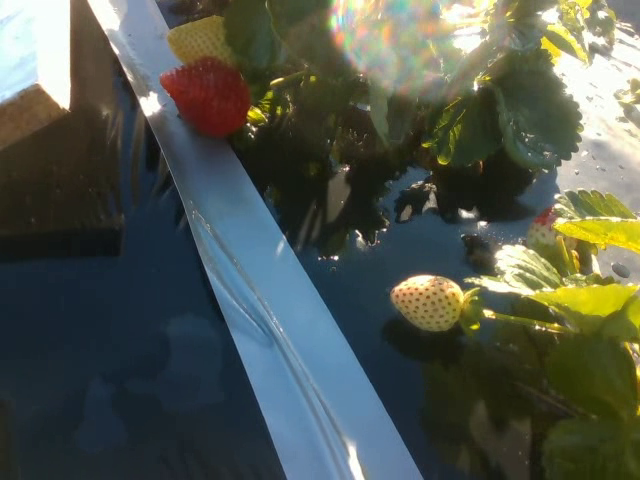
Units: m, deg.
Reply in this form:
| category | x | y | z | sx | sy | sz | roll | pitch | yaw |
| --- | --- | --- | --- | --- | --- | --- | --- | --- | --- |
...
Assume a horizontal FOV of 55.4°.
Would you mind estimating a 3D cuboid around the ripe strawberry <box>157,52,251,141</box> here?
| category | x | y | z | sx | sy | sz | roll | pitch | yaw |
| --- | --- | --- | --- | --- | --- | --- | --- | --- | --- |
| ripe strawberry | -0.061 | -0.077 | 0.312 | 0.045 | 0.049 | 0.063 | -4 | -2 | 25 |
